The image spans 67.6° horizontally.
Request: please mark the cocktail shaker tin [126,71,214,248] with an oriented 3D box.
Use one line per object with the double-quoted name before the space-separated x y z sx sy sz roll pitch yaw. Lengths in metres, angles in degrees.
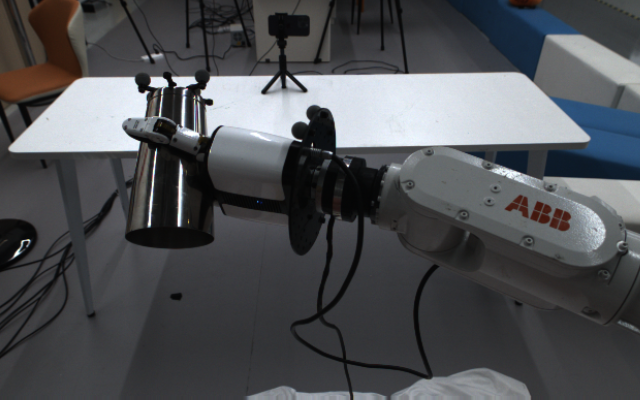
"cocktail shaker tin" -0.165 -0.037 0.547 0.093 0.093 0.170 -2 71 -6
